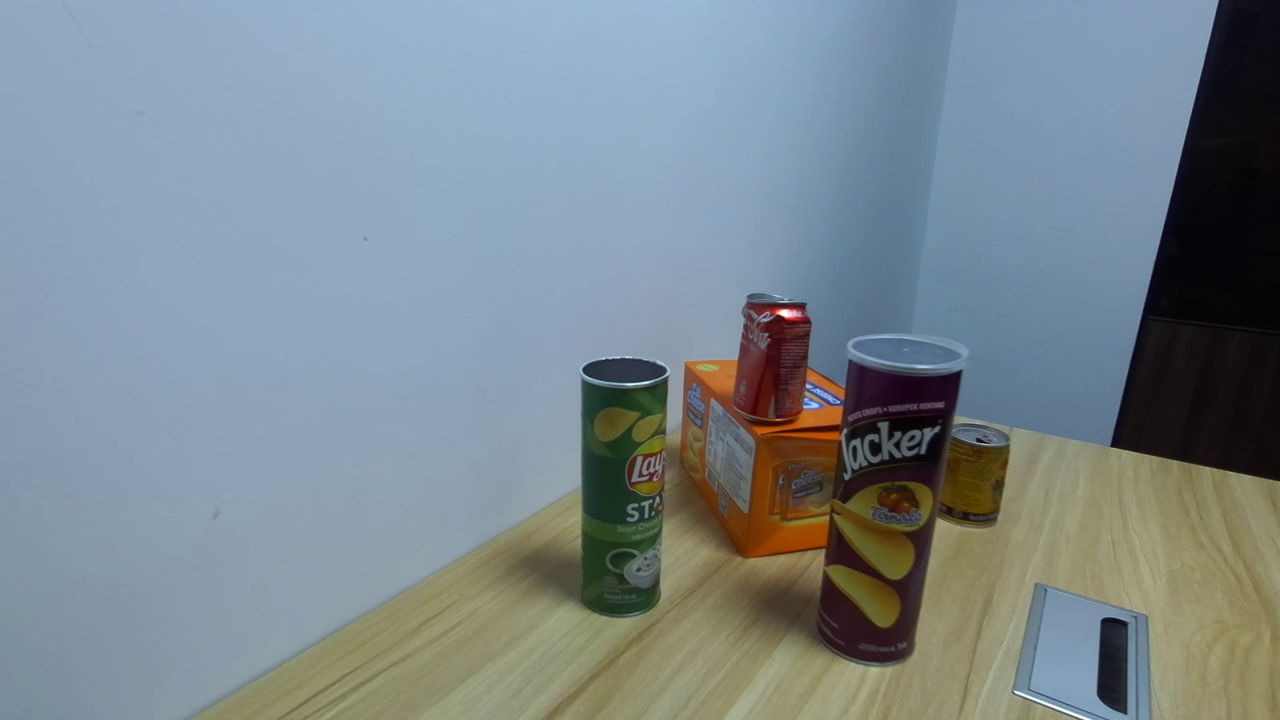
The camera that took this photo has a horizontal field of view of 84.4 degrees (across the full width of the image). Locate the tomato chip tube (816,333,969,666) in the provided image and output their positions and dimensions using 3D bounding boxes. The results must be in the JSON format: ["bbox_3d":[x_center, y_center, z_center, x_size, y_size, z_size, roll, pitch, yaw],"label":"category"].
[{"bbox_3d":[0.181,0.105,0.523,0.078,0.234,0.078,1,18,0],"label":"tomato chip tube"}]

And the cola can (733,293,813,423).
[{"bbox_3d":[0.119,-0.003,0.638,0.065,0.112,0.069,2,19,5],"label":"cola can"}]

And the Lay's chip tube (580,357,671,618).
[{"bbox_3d":[-0.013,0.102,0.573,0.071,0.202,0.071,1,18,0],"label":"Lay's chip tube"}]

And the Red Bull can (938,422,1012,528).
[{"bbox_3d":[0.347,0.119,0.740,0.069,0.092,0.069,1,17,0],"label":"Red Bull can"}]

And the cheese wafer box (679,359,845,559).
[{"bbox_3d":[0.146,0.088,0.752,0.150,0.137,0.226,-2,17,-15],"label":"cheese wafer box"}]
